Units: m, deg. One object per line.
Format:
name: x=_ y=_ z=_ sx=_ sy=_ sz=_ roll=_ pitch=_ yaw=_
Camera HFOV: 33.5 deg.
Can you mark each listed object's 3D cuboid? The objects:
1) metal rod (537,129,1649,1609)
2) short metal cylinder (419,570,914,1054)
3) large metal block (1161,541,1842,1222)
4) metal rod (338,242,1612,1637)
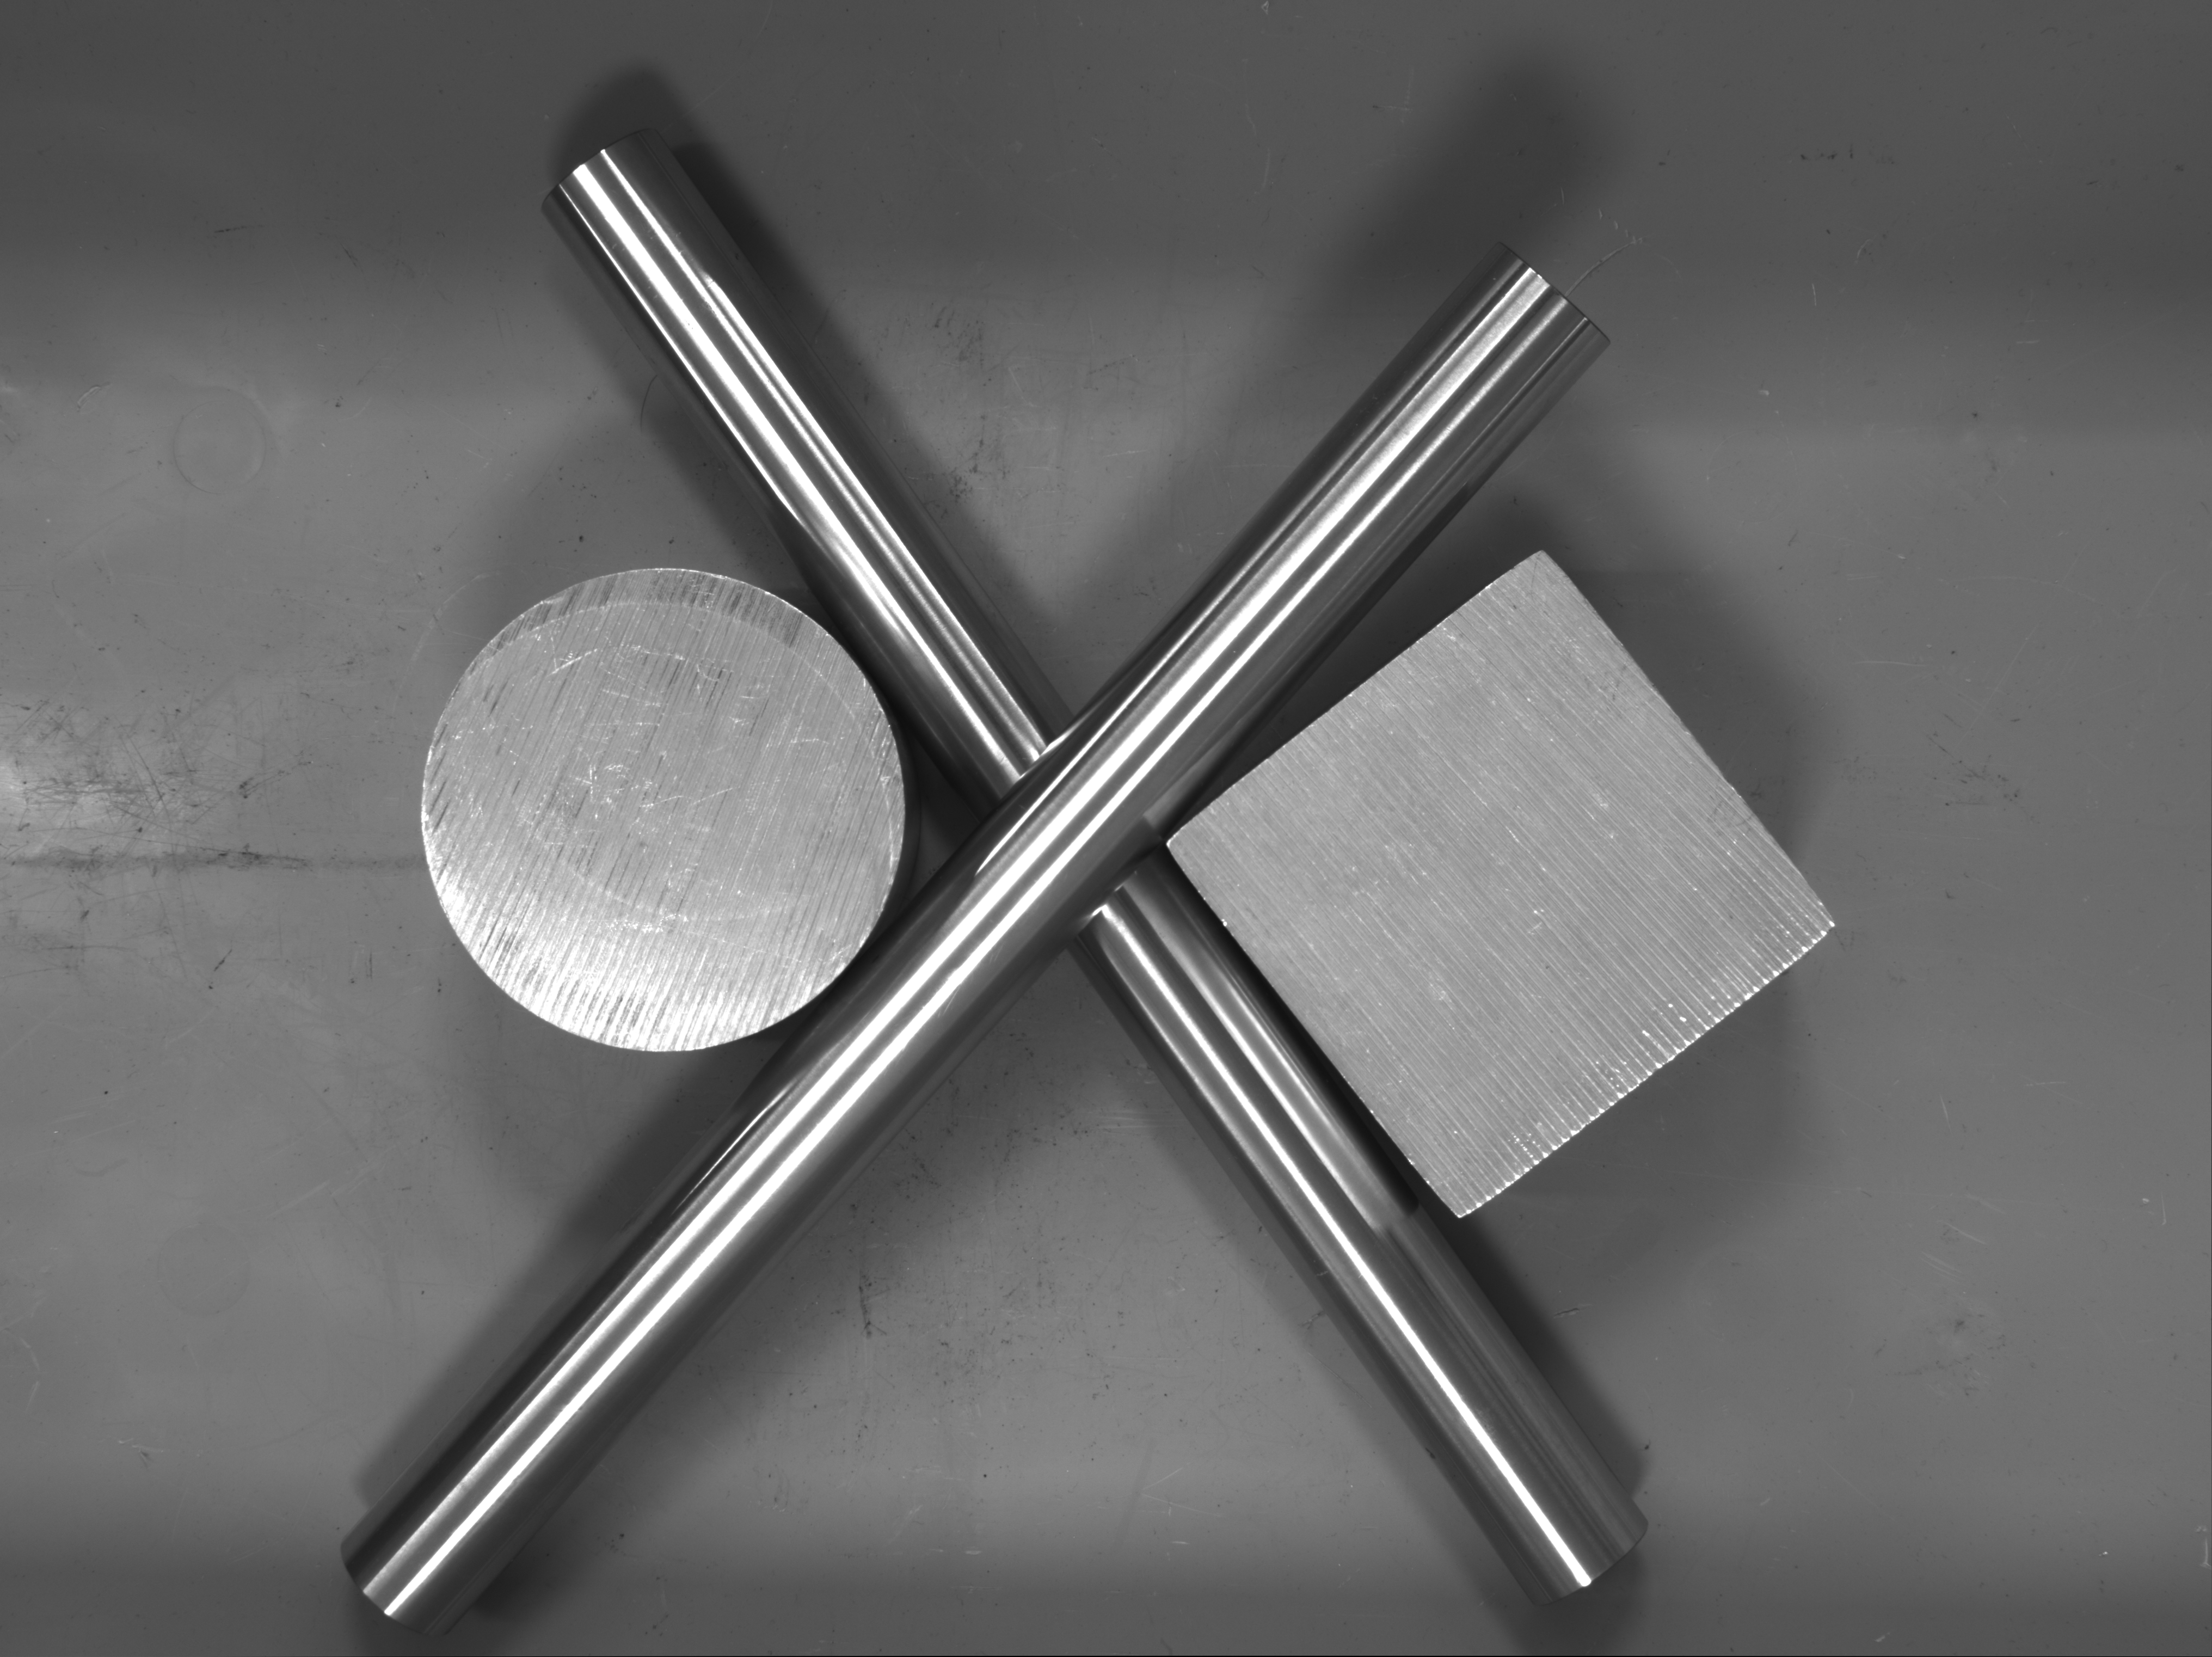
metal rod: x=-0.002 y=0.007 z=0.644 sx=0.025 sy=0.025 sz=0.300 roll=-36 pitch=90 yaw=0
short metal cylinder: x=-0.073 y=-0.003 z=0.632 sx=0.080 sy=0.050 sz=0.080 roll=0 pitch=90 yaw=0
large metal block: x=0.065 y=0.009 z=0.631 sx=0.080 sy=0.050 sz=0.080 roll=-38 pitch=90 yaw=0
metal rod: x=-0.026 y=0.022 z=0.624 sx=0.025 sy=0.025 sz=0.300 roll=42 pitch=98 yaw=0
